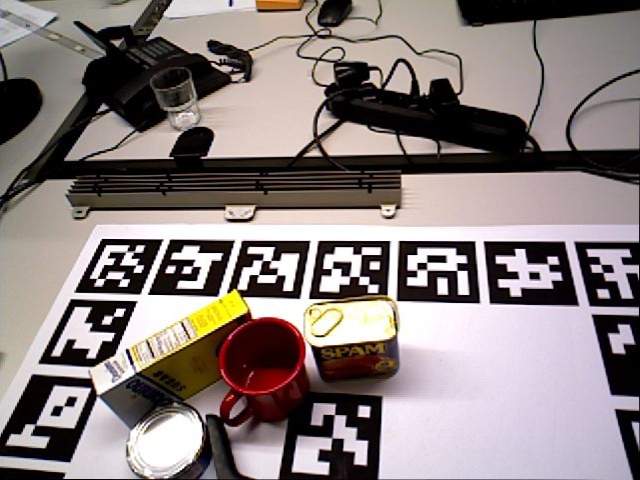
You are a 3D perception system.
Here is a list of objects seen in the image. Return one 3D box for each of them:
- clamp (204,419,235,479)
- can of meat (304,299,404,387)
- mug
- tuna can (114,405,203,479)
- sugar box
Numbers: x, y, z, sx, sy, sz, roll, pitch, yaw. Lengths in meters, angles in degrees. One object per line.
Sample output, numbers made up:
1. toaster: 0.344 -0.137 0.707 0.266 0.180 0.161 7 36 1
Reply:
1. clamp: -0.095 0.263 0.518 0.165 0.037 0.119 33 58 27
2. can of meat: 0.038 0.114 0.589 0.101 0.085 0.057 -5 47 4
3. mug: -0.067 0.147 0.571 0.093 0.083 0.115 22 58 25
4. tuna can: -0.166 0.218 0.563 0.086 0.034 0.084 -6 51 6
5. sugar box: -0.156 0.137 0.599 0.174 0.094 0.045 -28 49 -15
